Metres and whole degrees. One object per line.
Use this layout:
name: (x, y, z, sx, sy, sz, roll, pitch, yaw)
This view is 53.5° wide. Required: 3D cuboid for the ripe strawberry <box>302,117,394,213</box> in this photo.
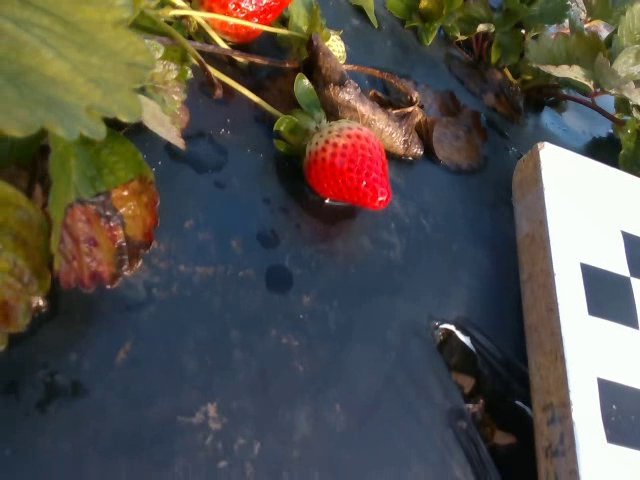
ripe strawberry: (0.012, -0.026, 0.227, 0.035, 0.043, 0.030, -18, -25, -33)
